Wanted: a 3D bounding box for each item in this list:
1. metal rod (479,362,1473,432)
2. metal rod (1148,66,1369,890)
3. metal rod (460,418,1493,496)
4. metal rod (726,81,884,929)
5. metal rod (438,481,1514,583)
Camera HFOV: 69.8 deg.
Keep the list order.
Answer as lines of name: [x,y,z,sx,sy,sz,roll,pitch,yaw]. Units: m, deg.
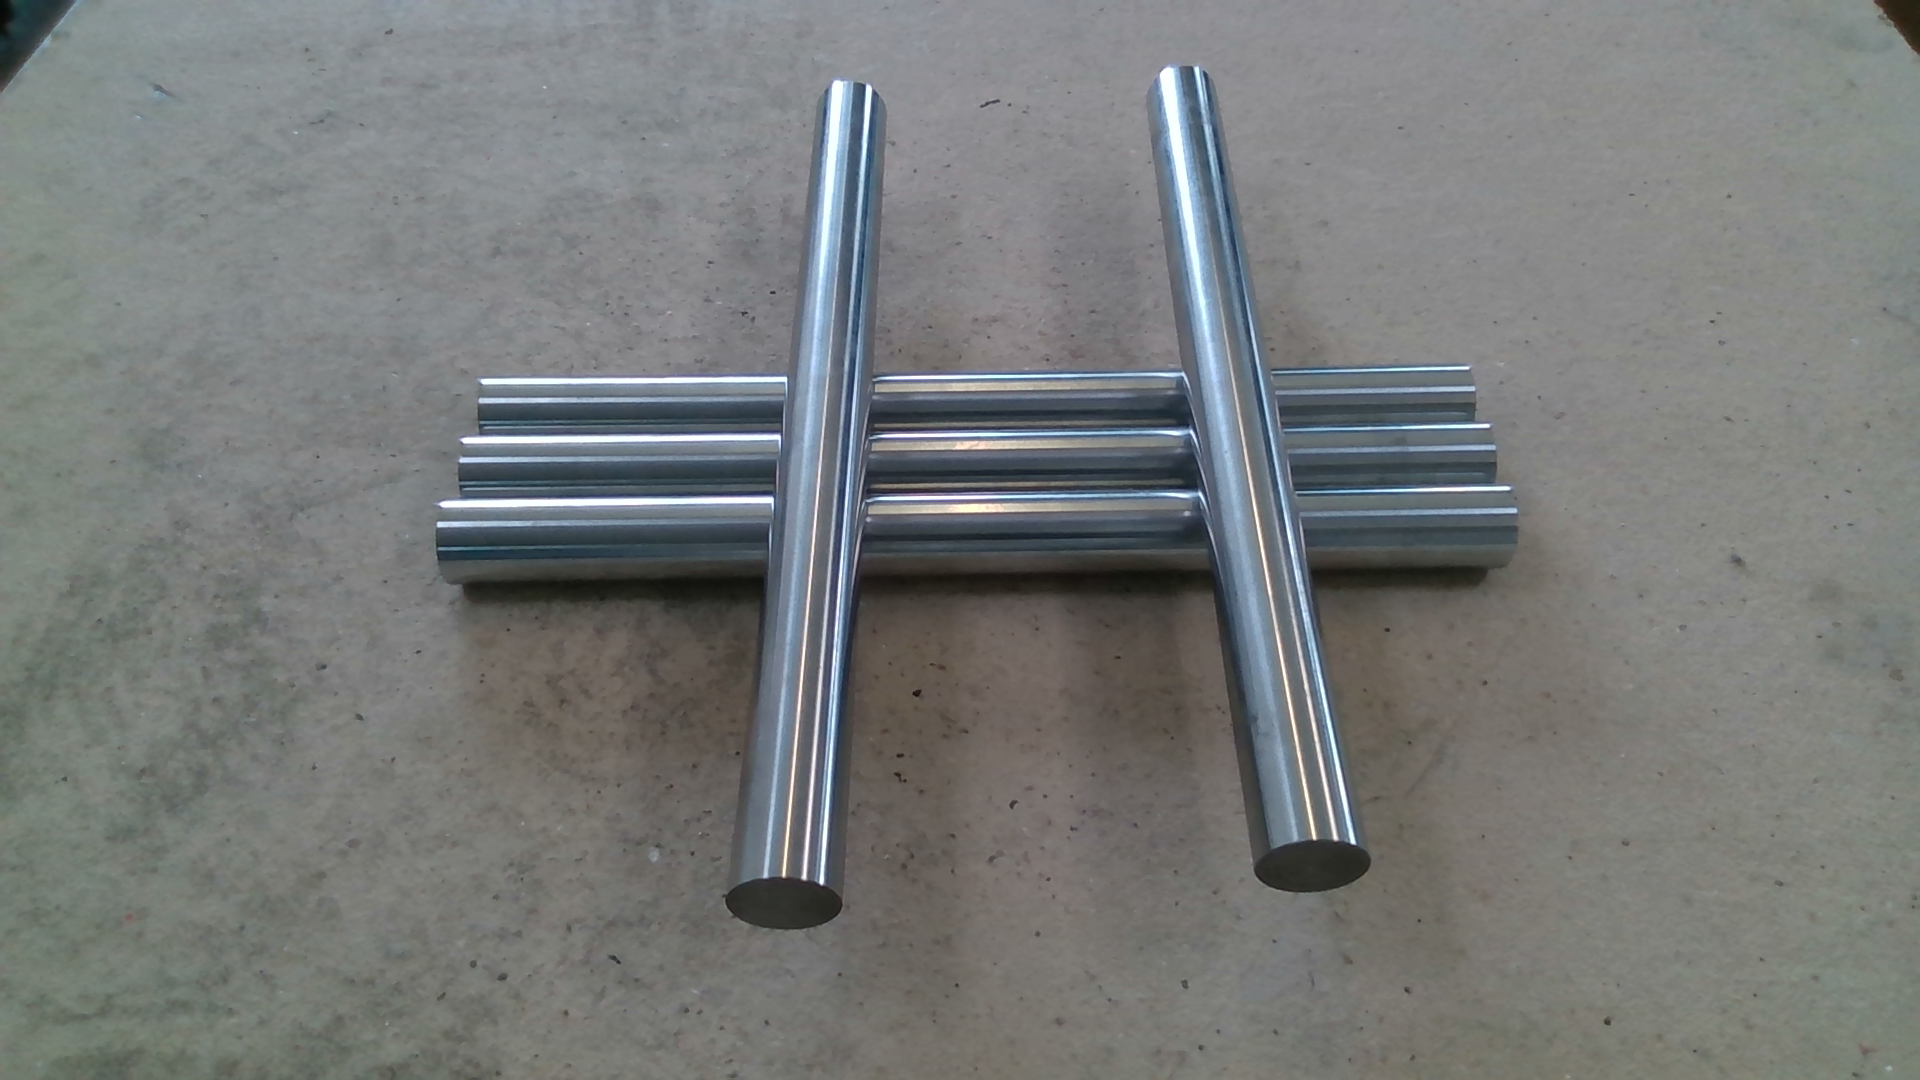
metal rod: [0.005,-0.041,0.428,0.300,0.025,0.025,-1,50,-1]
metal rod: [0.078,-0.044,0.398,0.025,0.025,0.299,0,50,0]
metal rod: [0.005,-0.022,0.412,0.300,0.025,0.025,-1,50,-1]
metal rod: [-0.038,-0.036,0.392,0.025,0.025,0.299,0,50,0]
metal rod: [0.005,-0.002,0.396,0.300,0.025,0.025,-1,50,-1]
